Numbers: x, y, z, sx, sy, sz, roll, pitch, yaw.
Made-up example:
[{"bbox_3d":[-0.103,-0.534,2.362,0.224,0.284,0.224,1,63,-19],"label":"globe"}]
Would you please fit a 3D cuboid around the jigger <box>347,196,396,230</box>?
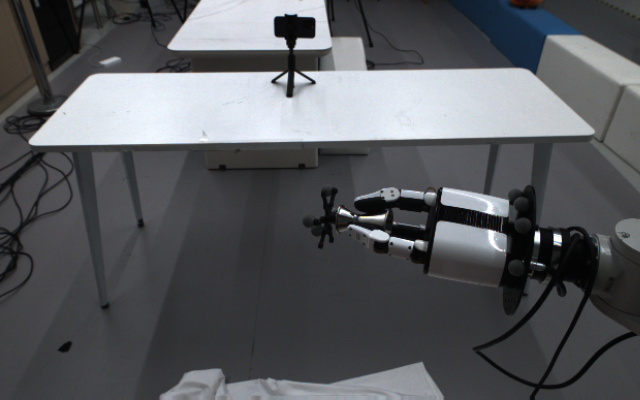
[{"bbox_3d":[0.066,0.022,0.639,0.071,0.043,0.043,5,34,21],"label":"jigger"}]
